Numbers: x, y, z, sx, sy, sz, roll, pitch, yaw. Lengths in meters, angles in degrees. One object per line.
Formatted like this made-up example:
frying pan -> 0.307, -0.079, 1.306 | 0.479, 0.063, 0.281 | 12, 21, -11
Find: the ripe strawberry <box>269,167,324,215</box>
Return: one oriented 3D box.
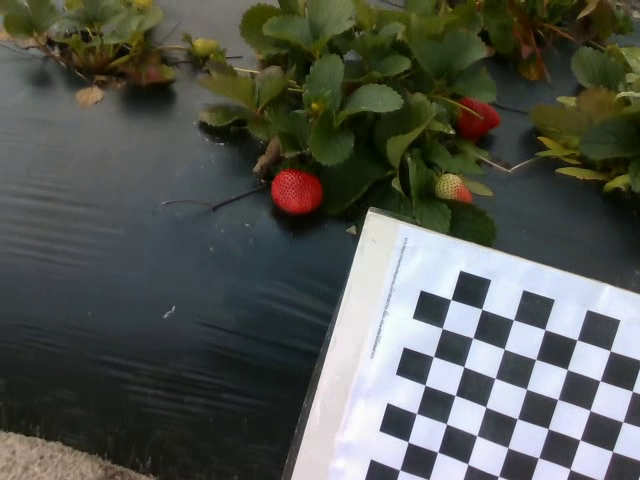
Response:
ripe strawberry -> -0.019, -0.031, 0.387 | 0.037, 0.046, 0.037 | -29, -53, 15
